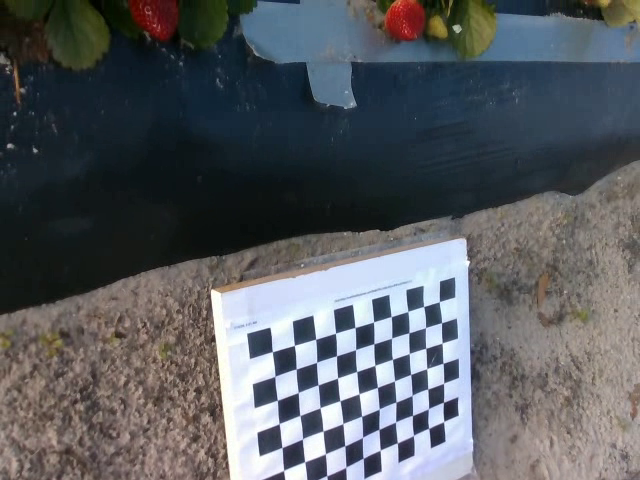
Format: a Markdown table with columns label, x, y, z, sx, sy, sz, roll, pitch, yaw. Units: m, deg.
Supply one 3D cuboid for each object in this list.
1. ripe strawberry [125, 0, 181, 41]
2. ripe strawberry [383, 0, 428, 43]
| label | x | y | z | sx | sy | sz | roll | pitch | yaw |
| --- | --- | --- | --- | --- | --- | --- | --- | --- | --- |
| ripe strawberry | -0.056 | -0.077 | 0.214 | 0.018 | 0.023 | 0.021 | -16 | -14 | -13 |
| ripe strawberry | 0.041 | -0.097 | 0.281 | 0.023 | 0.026 | 0.021 | 1 | -35 | -9 |
